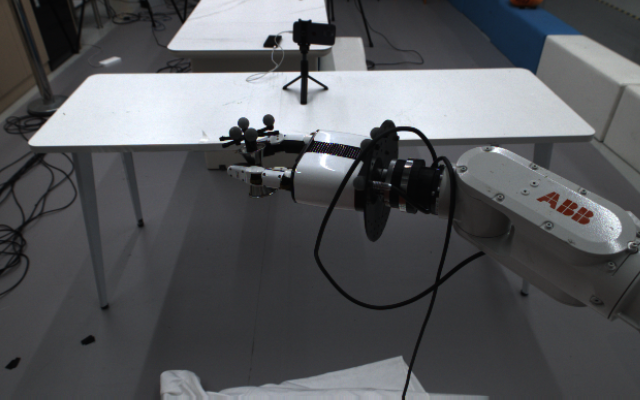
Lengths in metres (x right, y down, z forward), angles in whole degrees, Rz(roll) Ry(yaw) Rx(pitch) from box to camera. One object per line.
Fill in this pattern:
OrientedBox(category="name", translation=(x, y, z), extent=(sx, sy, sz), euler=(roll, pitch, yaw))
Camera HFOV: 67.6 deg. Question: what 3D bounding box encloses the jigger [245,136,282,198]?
OrientedBox(category="jigger", translation=(-0.087, -0.045, 0.691), extent=(0.043, 0.071, 0.043), euler=(-10, 24, 5))
